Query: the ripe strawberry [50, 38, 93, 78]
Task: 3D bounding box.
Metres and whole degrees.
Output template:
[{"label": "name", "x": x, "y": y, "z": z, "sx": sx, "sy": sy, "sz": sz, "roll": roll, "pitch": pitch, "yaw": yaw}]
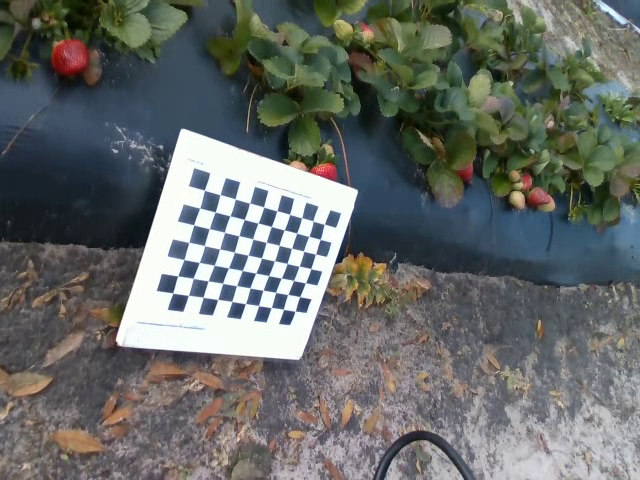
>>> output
[{"label": "ripe strawberry", "x": -0.301, "y": -0.217, "z": 0.735, "sx": 0.050, "sy": 0.049, "sz": 0.053, "roll": 5, "pitch": 31, "yaw": -41}]
